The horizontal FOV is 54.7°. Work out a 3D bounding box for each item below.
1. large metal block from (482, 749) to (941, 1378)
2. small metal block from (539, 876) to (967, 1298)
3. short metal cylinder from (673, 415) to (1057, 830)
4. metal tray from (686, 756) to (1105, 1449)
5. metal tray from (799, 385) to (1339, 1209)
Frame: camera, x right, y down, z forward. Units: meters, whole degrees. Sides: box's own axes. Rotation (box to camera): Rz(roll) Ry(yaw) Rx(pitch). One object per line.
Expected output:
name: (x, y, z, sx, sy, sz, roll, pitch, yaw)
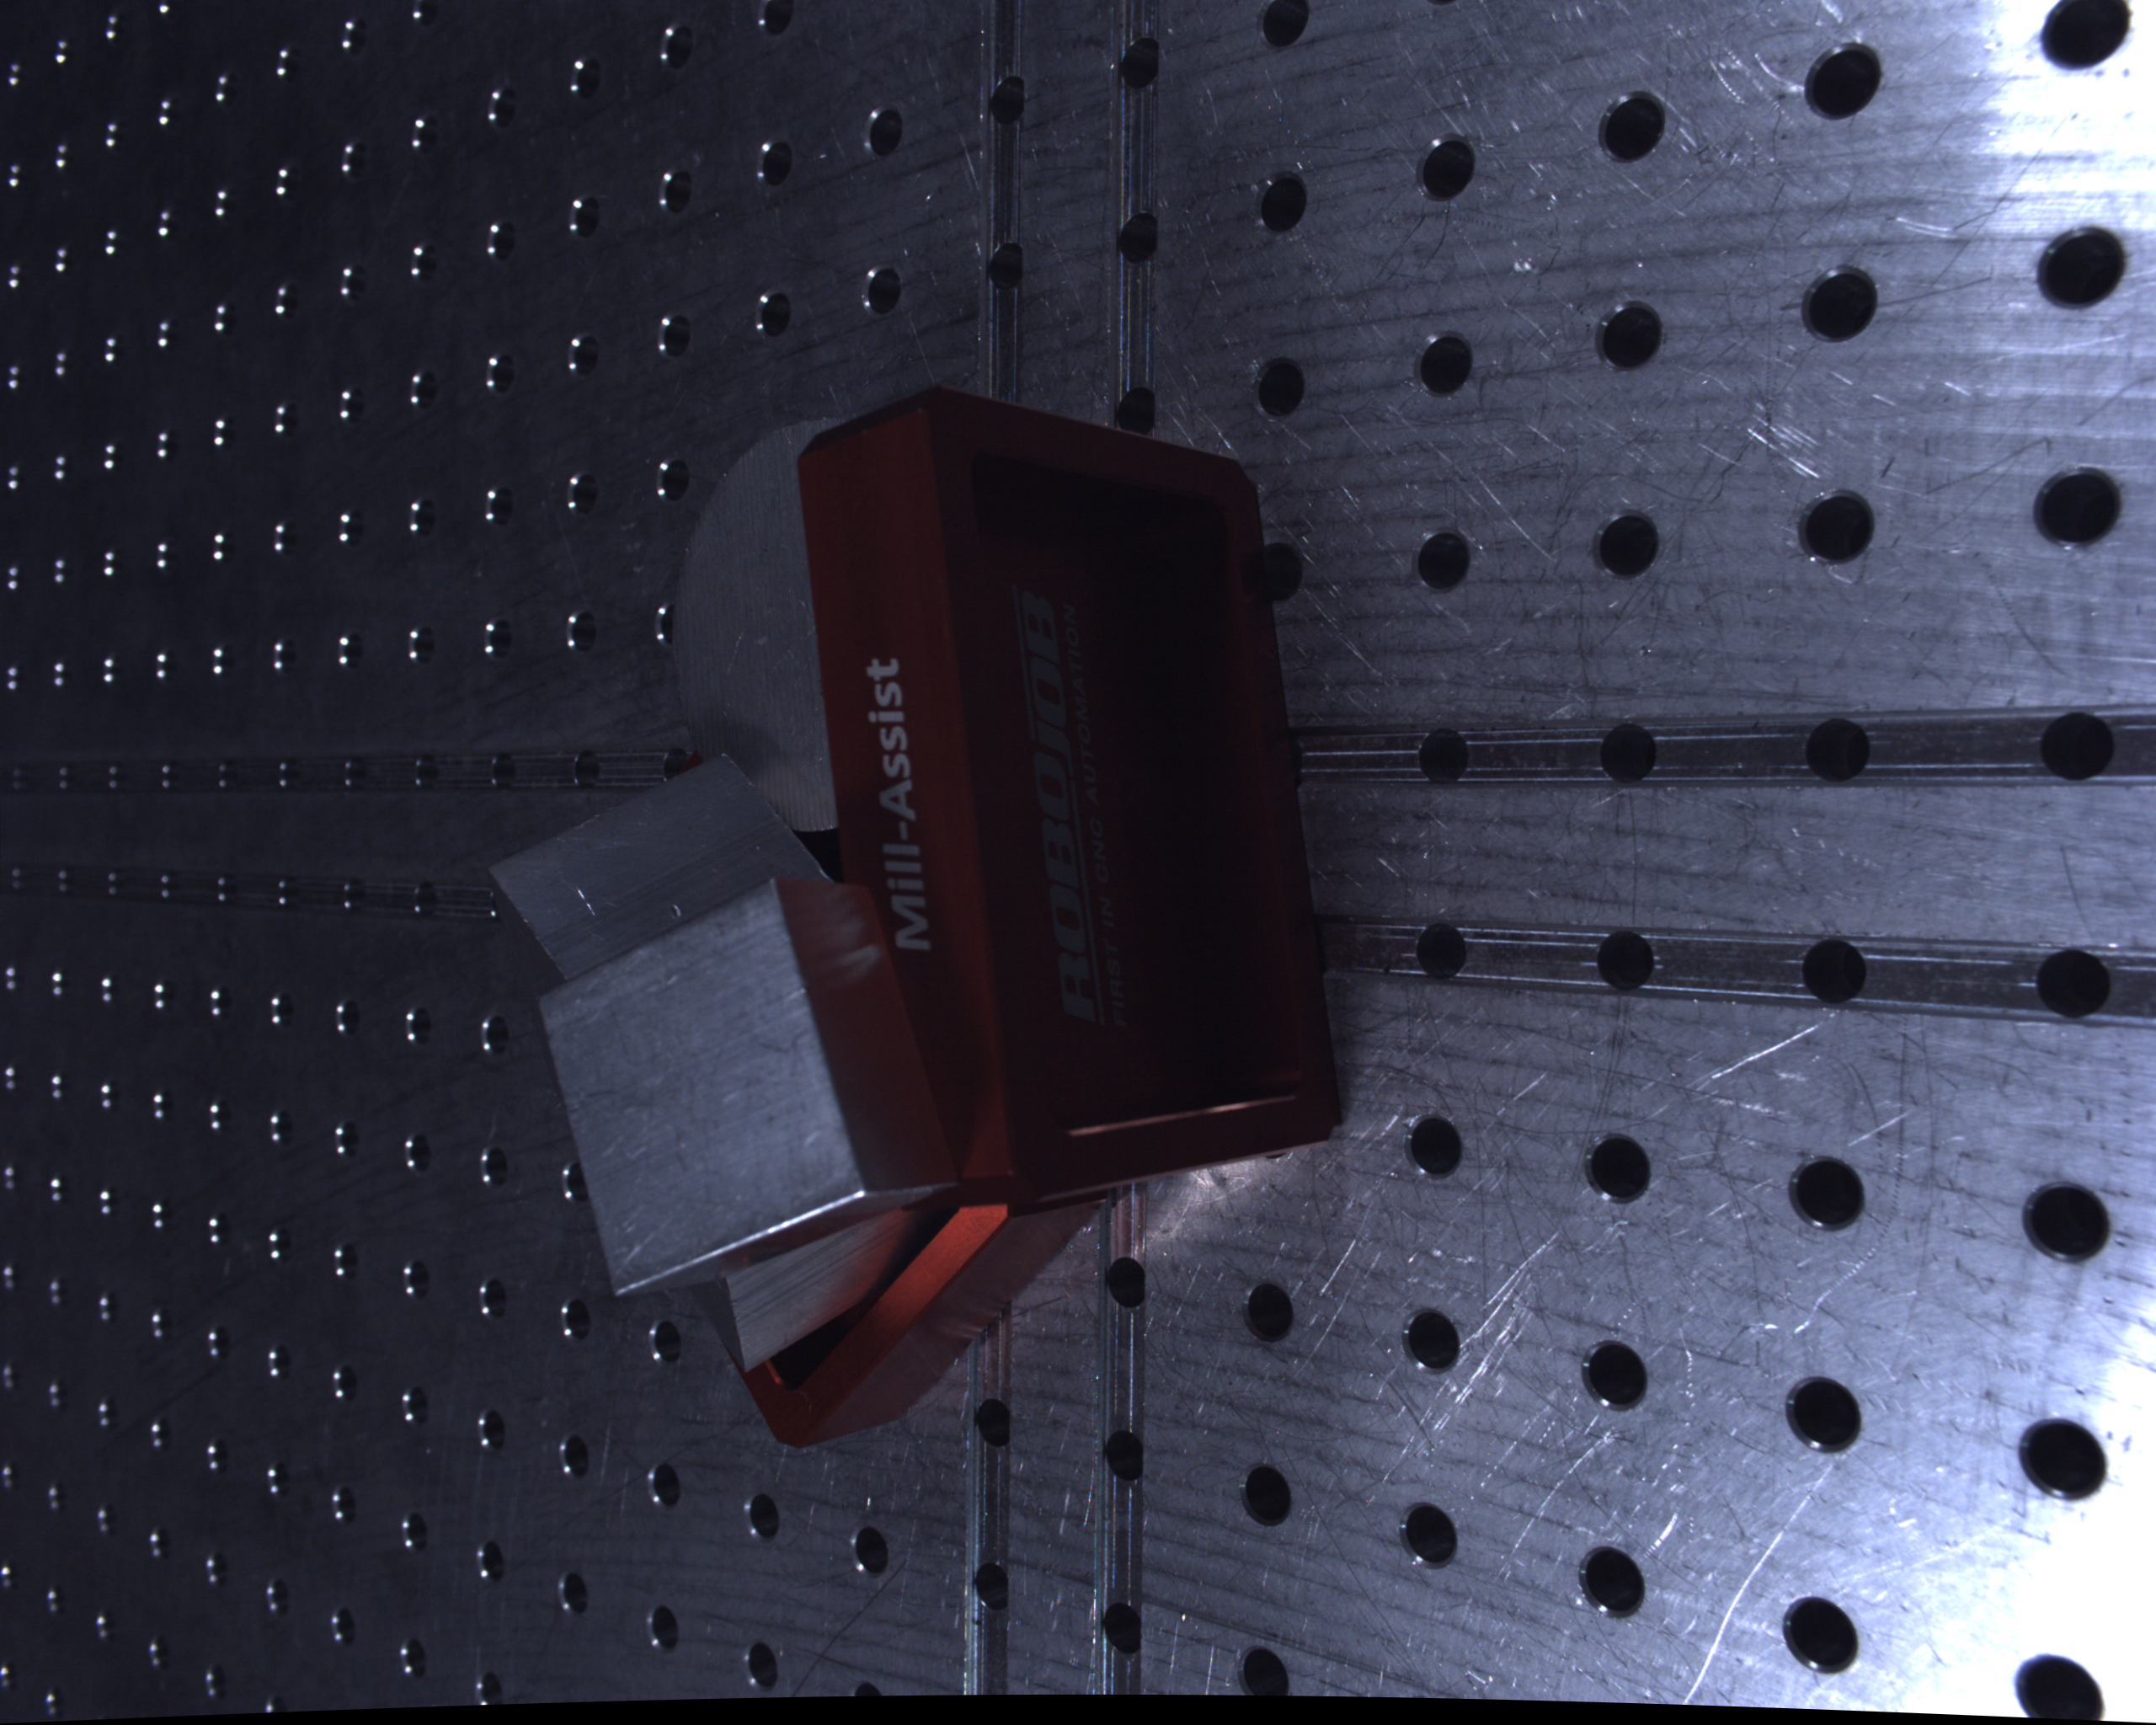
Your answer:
large metal block: (-0.066, 0.039, 0.405, 0.080, 0.050, 0.080, 47, 153, 29)
small metal block: (-0.052, 0.035, 0.327, 0.050, 0.025, 0.050, -25, 74, 25)
short metal cylinder: (-0.036, -0.046, 0.420, 0.080, 0.050, 0.079, 0, 90, 39)
metal tray: (-0.061, 0.047, 0.452, 0.090, 0.030, 0.130, -50, 61, 28)
metal tray: (0.001, -0.010, 0.364, 0.030, 0.091, 0.129, -12, 83, 39)
